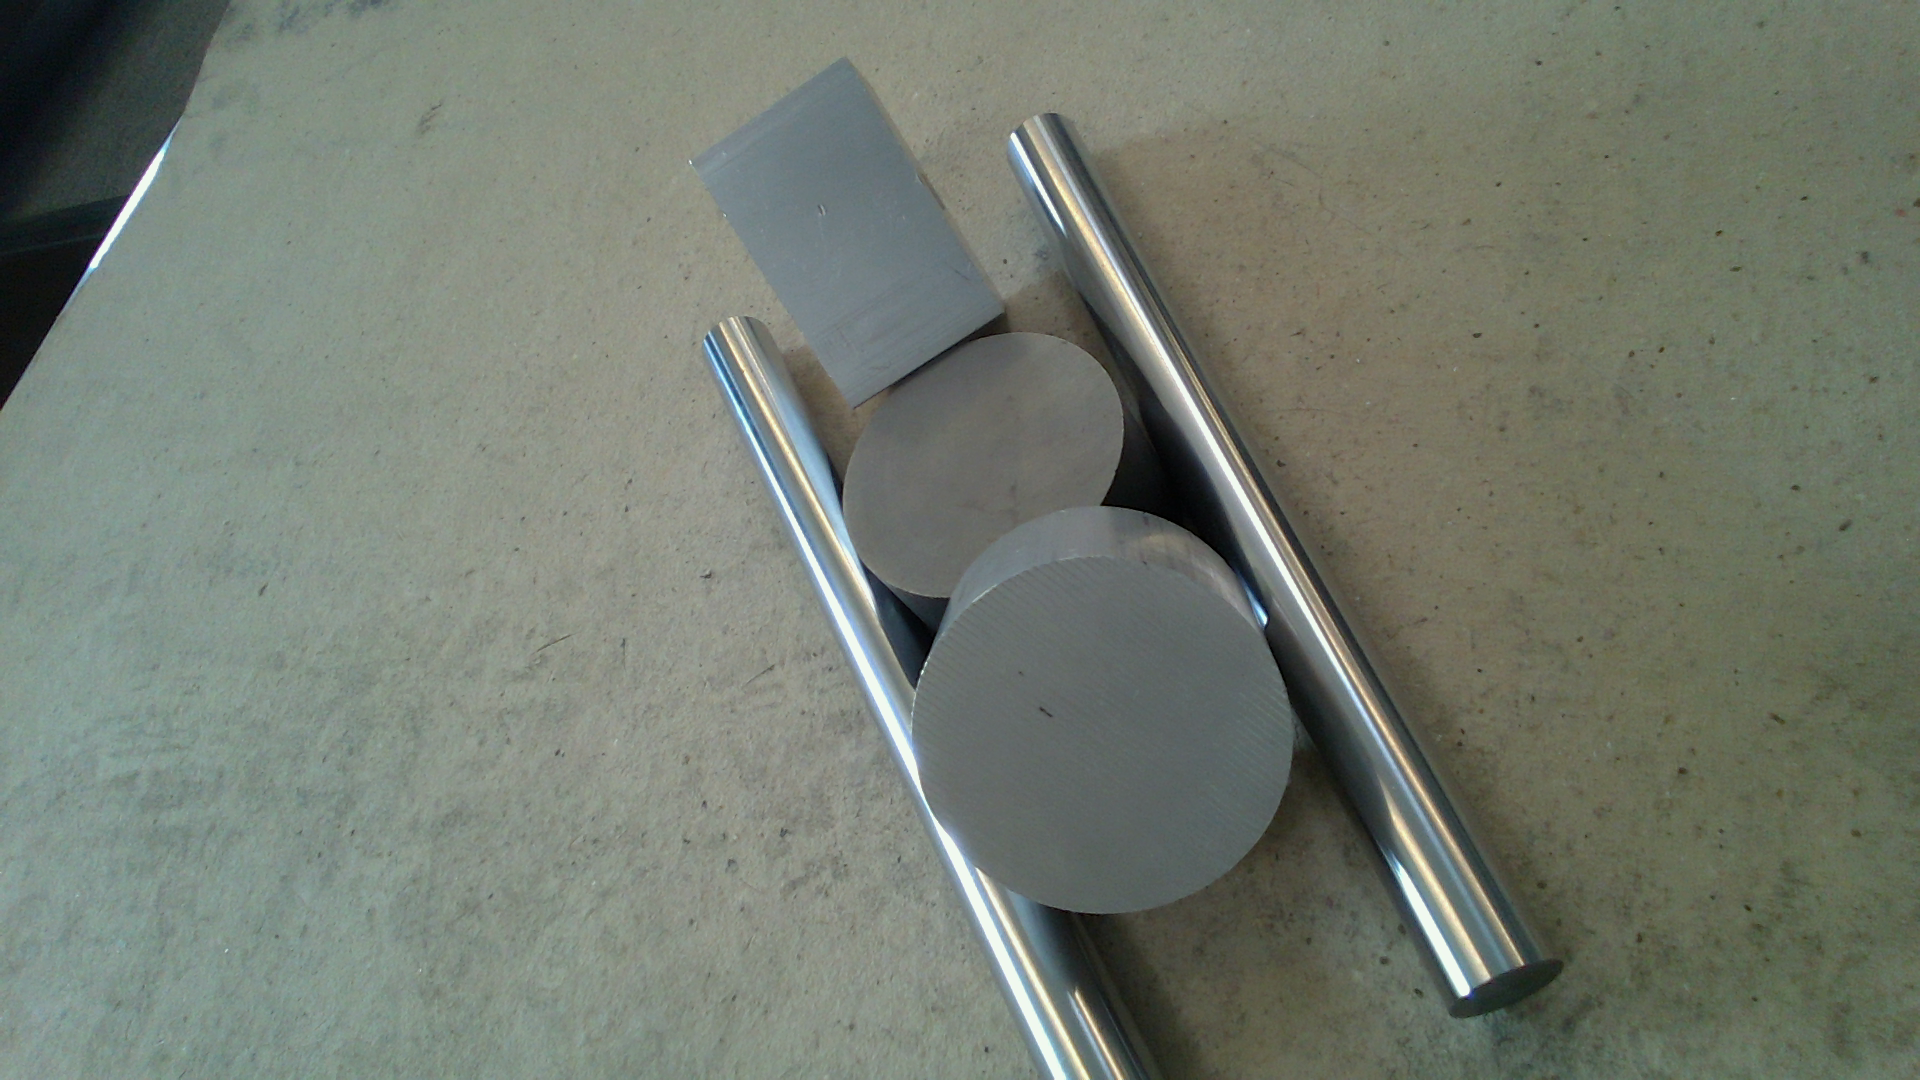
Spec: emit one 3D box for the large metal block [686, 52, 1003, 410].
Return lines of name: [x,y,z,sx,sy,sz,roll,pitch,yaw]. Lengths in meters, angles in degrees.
large metal block: [-0.030,-0.091,0.410,0.050,0.080,0.080,-32,10,8]

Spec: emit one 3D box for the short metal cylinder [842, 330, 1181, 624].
short metal cylinder: [0.015,-0.010,0.375,0.080,0.050,0.080,-13,56,21]

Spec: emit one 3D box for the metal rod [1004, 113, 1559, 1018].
metal rod: [0.068,-0.021,0.369,0.025,0.025,0.300,-28,52,10]

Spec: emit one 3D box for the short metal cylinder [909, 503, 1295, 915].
short metal cylinder: [0.031,0.036,0.311,0.080,0.080,0.050,-28,9,11]

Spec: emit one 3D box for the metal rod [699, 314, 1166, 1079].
metal rod: [-0.020,0.032,0.384,0.025,0.025,0.299,-35,51,5]
